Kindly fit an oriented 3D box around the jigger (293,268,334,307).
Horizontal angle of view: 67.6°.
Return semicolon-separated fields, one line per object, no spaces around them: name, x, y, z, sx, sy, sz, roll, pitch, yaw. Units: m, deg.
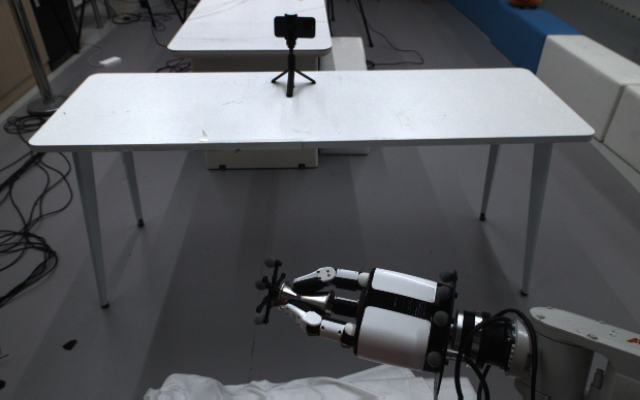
jigger;-0.012;0.134;0.658;0.071;0.043;0.043;11;36;15
